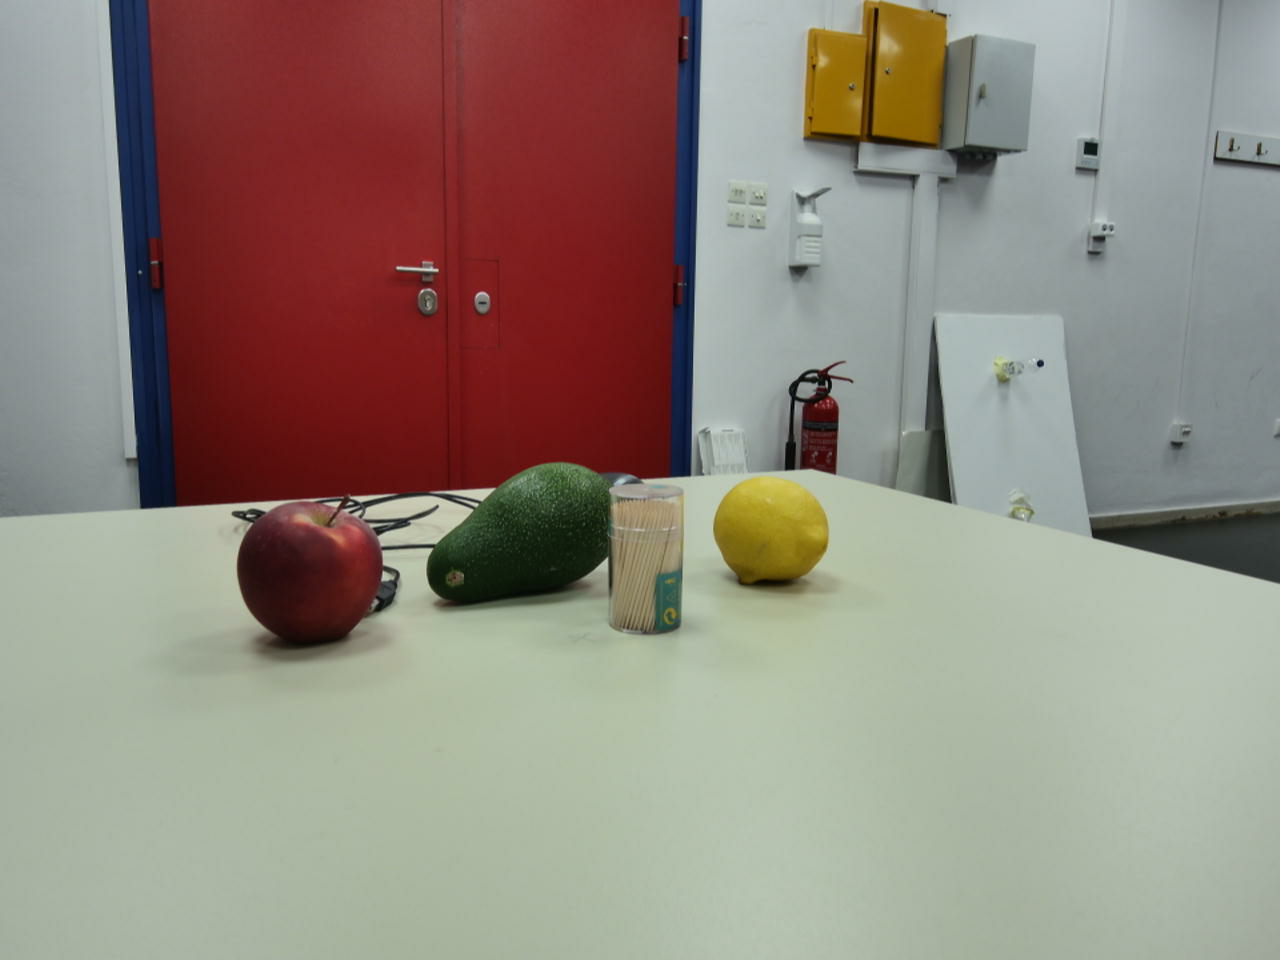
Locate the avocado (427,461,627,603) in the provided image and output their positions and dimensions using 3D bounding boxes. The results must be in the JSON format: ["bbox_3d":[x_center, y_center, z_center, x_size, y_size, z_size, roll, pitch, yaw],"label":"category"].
[{"bbox_3d":[-0.067,0.028,0.594,0.123,0.076,0.074,-2,8,-19],"label":"avocado"}]
